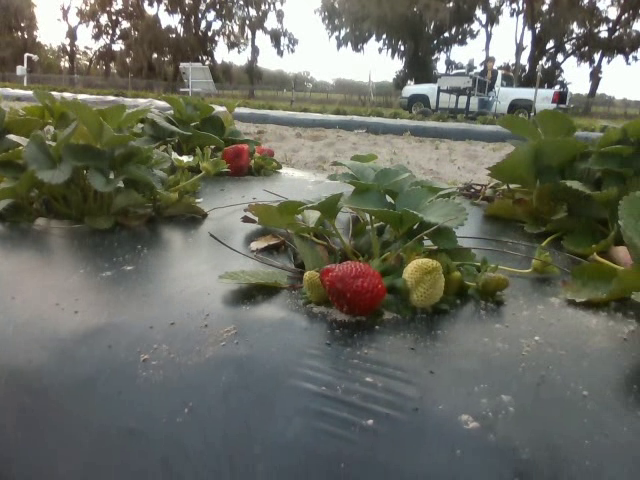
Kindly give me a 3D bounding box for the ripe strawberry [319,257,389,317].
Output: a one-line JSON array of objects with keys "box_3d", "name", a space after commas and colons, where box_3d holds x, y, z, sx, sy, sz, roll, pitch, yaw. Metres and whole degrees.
[{"box_3d": [0.018, 0.032, 0.410, 0.046, 0.045, 0.059, 3, -14, 34], "name": "ripe strawberry"}]
